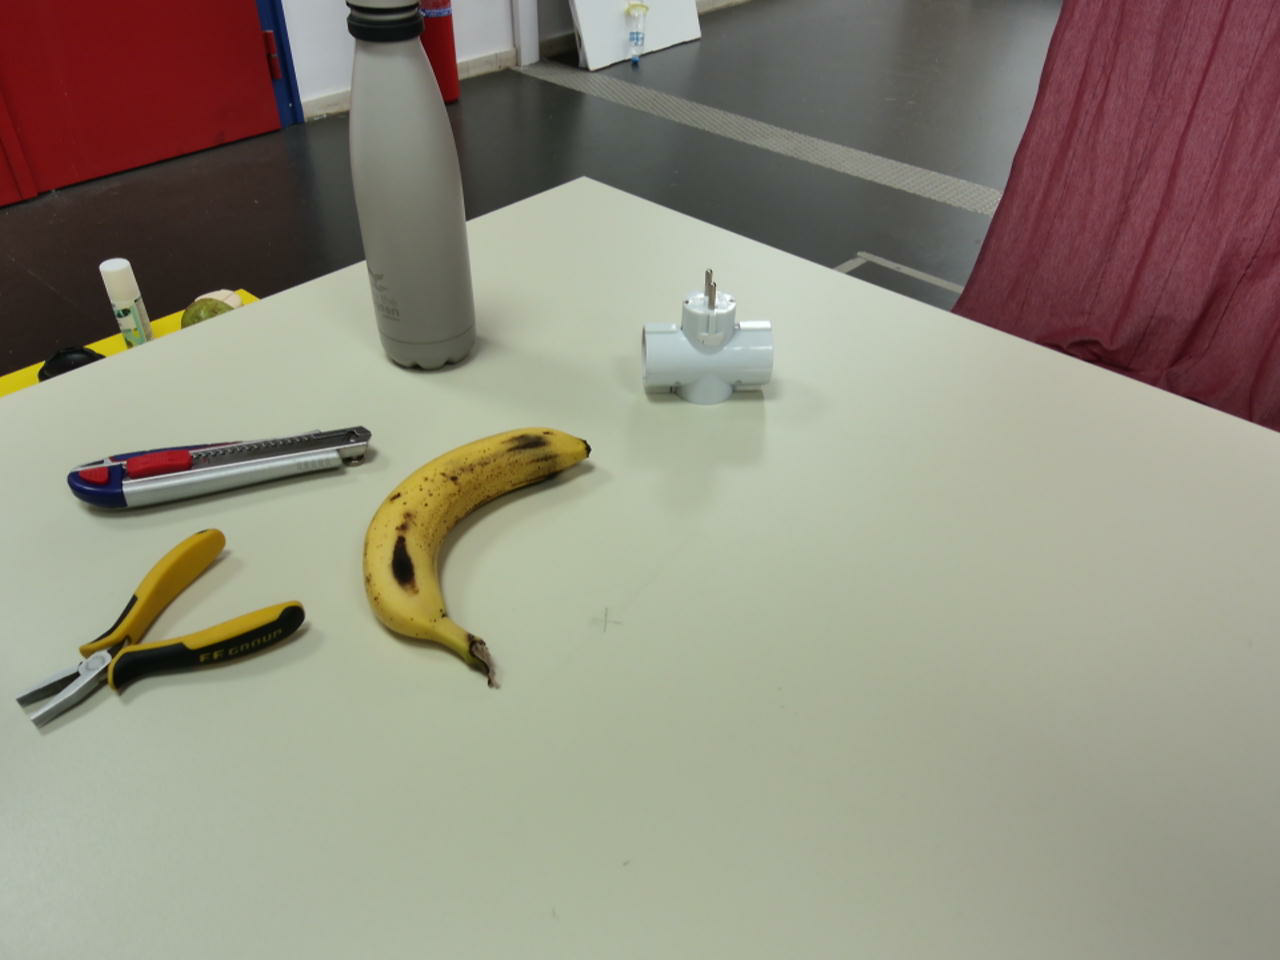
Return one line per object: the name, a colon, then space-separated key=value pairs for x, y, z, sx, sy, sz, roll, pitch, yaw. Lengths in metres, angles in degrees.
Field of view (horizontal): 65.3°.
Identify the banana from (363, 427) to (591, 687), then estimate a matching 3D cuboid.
banana: x=-0.098 y=0.024 z=0.570 sx=0.097 sy=0.038 sz=0.186 roll=9 pitch=38 yaw=10
